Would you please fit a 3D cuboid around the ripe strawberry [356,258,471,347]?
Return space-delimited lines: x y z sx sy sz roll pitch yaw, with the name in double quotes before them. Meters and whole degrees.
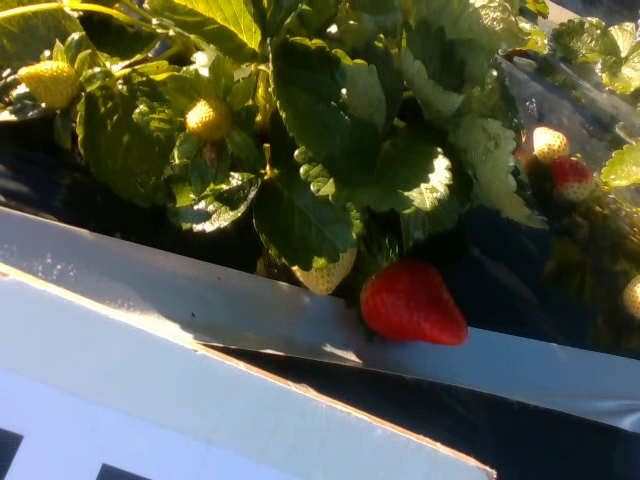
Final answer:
"ripe strawberry" 0.042 0.030 0.270 0.045 0.048 0.064 -42 38 -11
